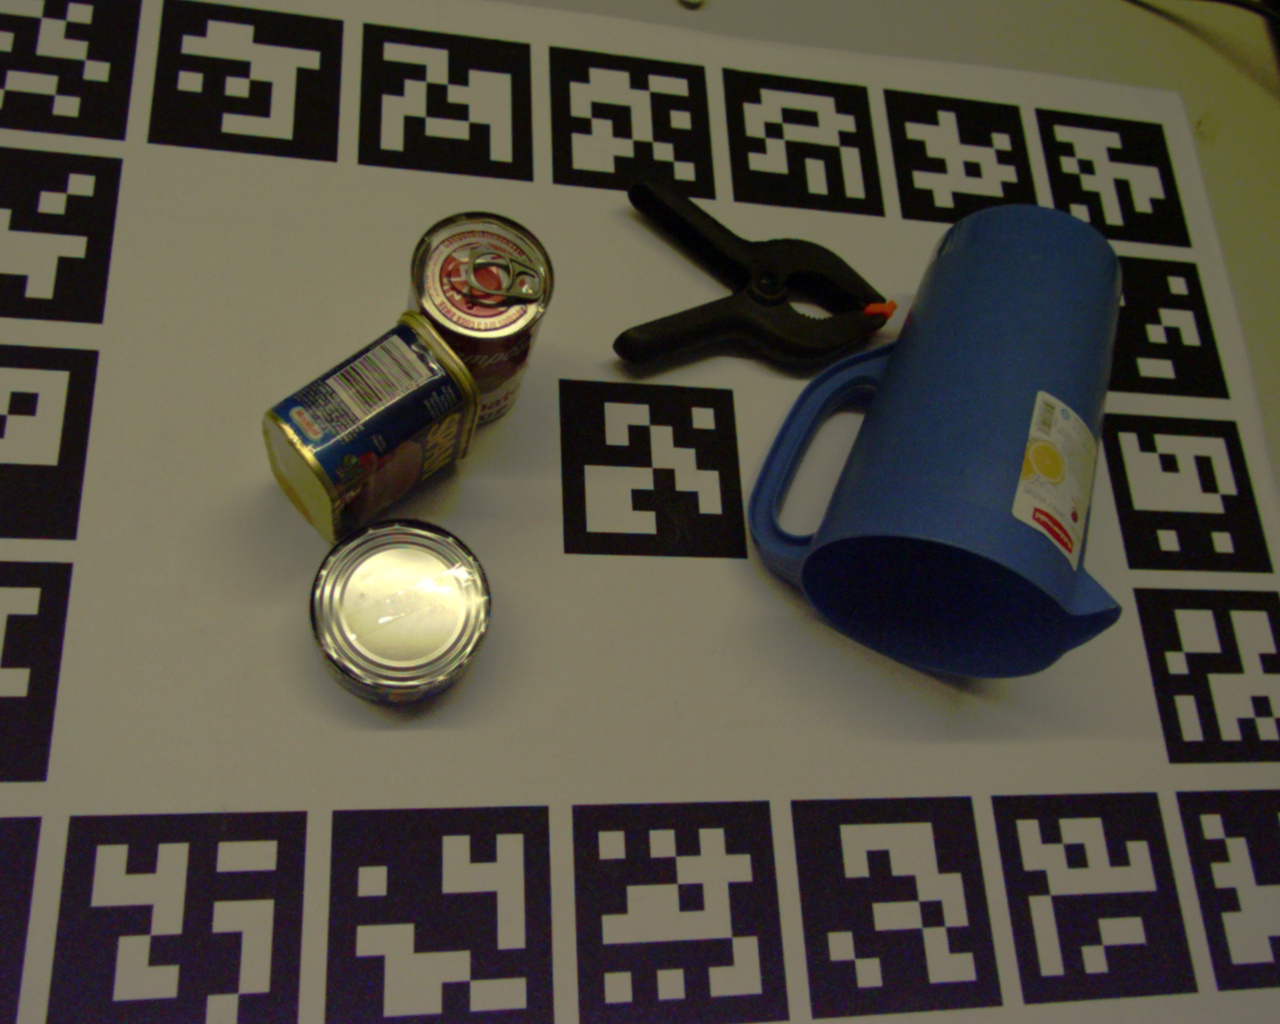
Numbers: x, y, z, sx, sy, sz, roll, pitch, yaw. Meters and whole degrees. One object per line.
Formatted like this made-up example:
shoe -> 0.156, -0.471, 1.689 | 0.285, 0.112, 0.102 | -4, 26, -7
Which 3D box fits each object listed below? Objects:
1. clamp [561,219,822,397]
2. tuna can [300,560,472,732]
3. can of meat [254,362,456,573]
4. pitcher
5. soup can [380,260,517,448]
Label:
clamp -> 0.033, -0.120, 0.707 | 0.164, 0.037, 0.122 | 4, 66, -16
tuna can -> -0.132, 0.070, 0.590 | 0.085, 0.034, 0.086 | 4, 72, -12
can of meat -> -0.145, -0.019, 0.579 | 0.083, 0.102, 0.058 | -36, 84, -19
pitcher -> 0.163, -0.032, 0.640 | 0.190, 0.132, 0.242 | 12, 59, 14
soup can -> -0.105, -0.081, 0.616 | 0.067, 0.102, 0.068 | 3, 72, -11
